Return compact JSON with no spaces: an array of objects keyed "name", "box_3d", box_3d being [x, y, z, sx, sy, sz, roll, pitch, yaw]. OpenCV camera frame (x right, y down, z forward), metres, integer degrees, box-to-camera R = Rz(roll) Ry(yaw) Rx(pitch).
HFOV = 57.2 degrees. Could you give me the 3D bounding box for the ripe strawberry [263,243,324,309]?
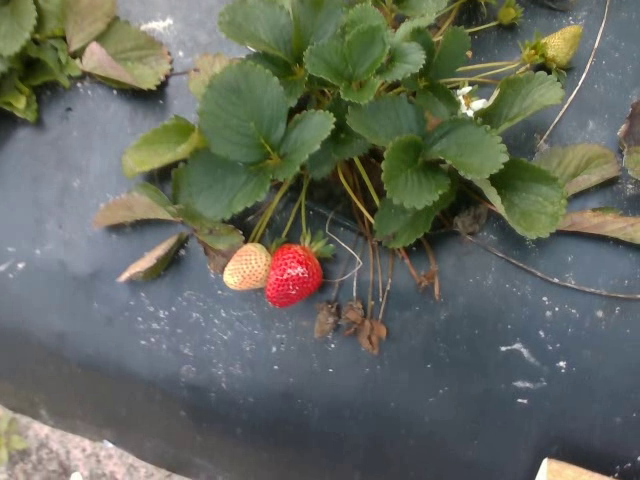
[{"name":"ripe strawberry","box_3d":[-0.017,0.021,0.325,0.042,0.034,0.033,-46,-2,-32]}]
